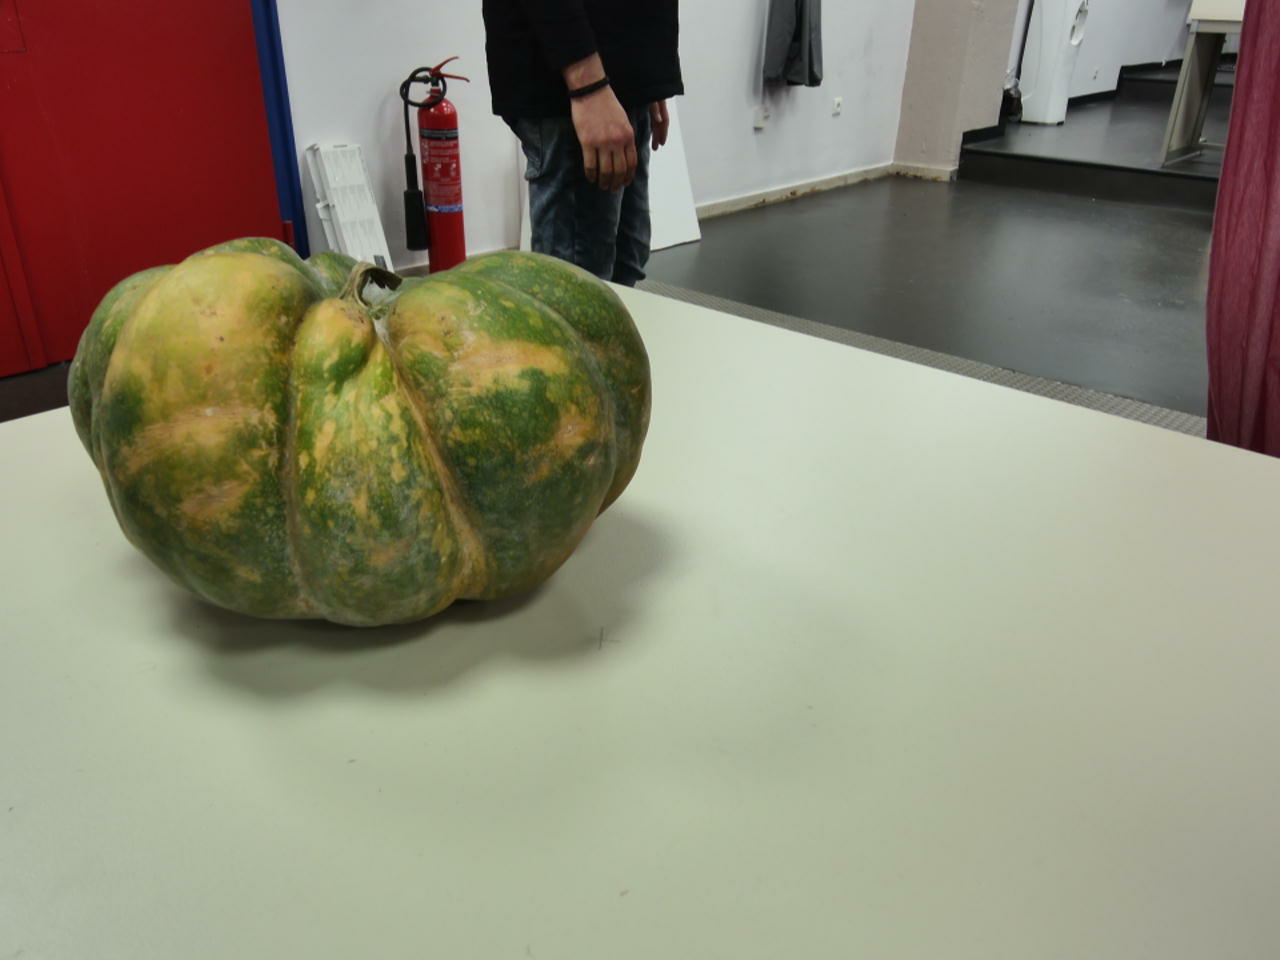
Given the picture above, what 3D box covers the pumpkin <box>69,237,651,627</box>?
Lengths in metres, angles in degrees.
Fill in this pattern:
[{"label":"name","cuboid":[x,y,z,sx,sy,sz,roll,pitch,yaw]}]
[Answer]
[{"label":"pumpkin","cuboid":[-0.131,-0.034,0.476,0.270,0.173,0.237,-5,25,-11]}]
